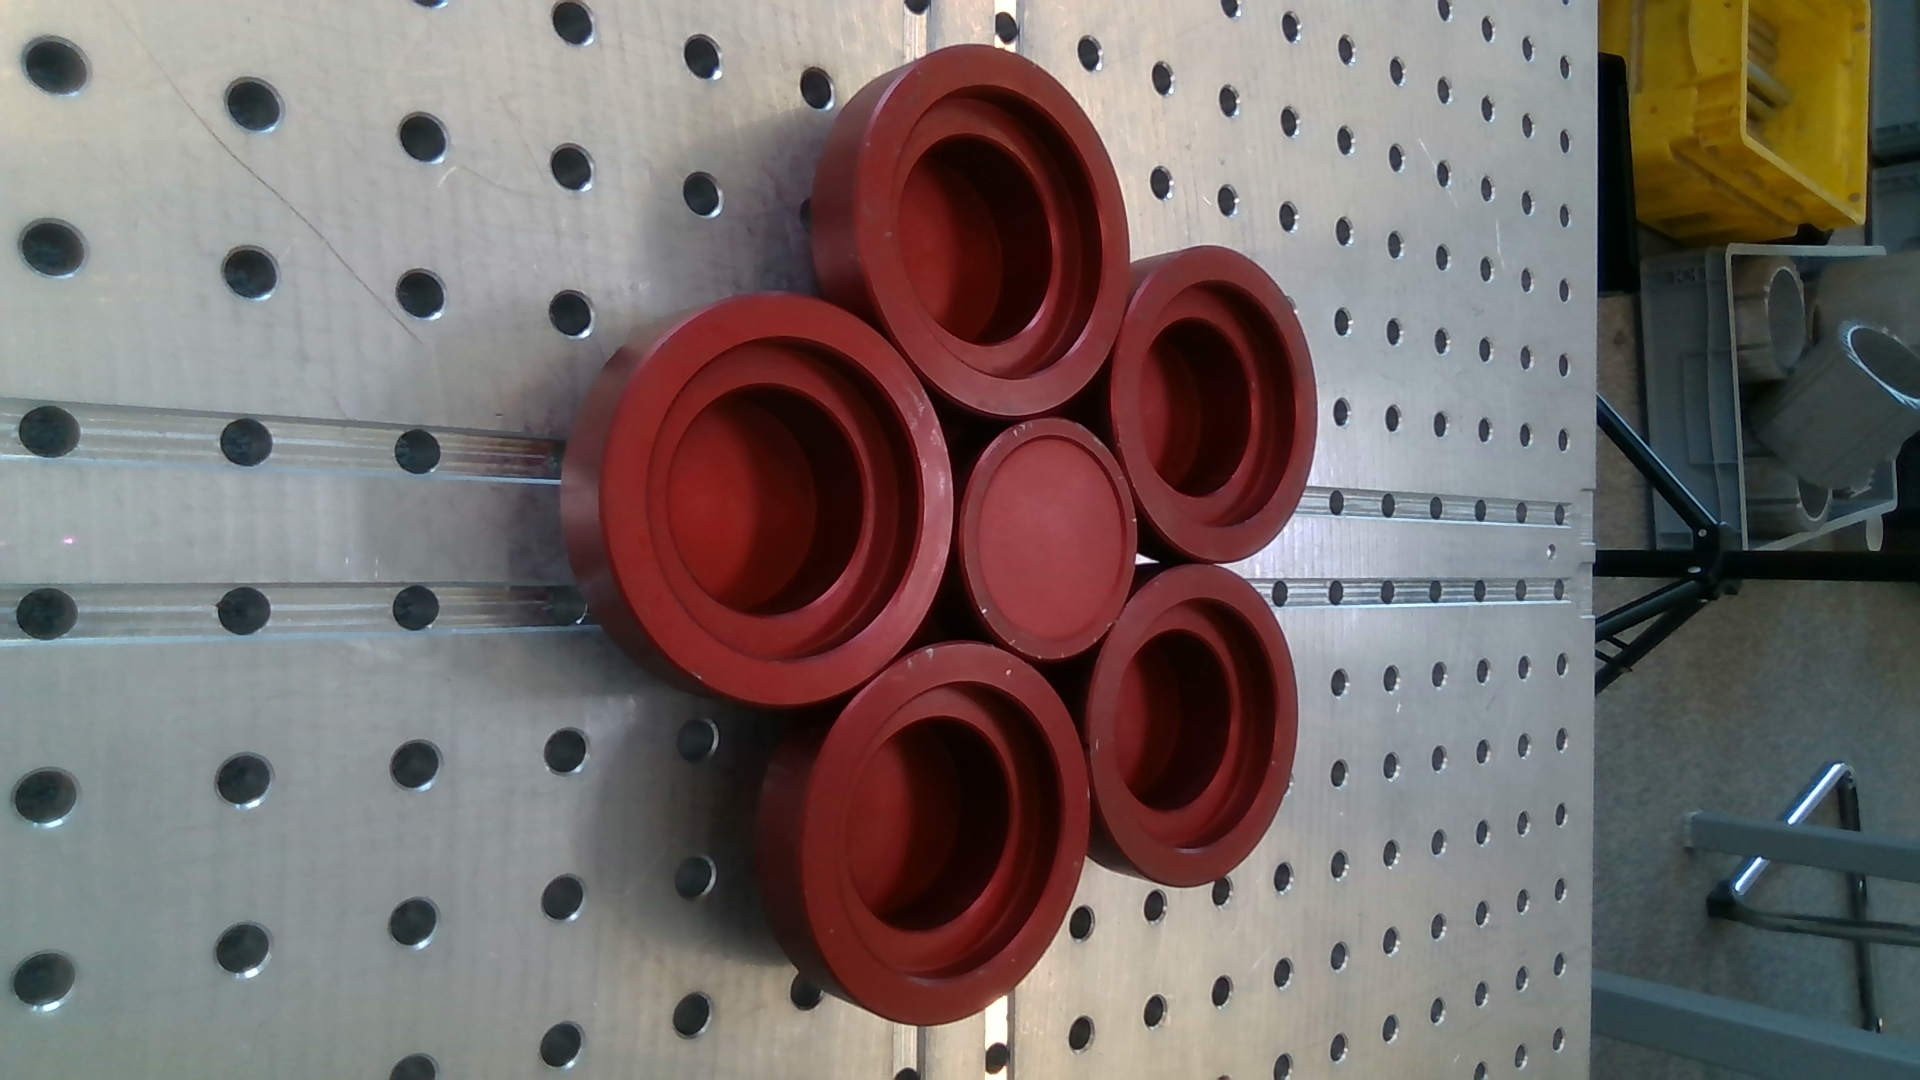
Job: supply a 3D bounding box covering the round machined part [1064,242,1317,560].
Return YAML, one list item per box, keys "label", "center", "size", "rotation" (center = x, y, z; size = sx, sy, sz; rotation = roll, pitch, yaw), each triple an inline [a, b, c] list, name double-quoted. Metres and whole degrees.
- label: "round machined part"
  center: [0.068, -0.042, 0.439]
  size: [0.098, 0.042, 0.098]
  rotation: [0, 90, -40]

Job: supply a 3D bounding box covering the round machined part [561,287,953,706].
- label: "round machined part"
  center: [-0.052, -0.010, 0.338]
  size: [0.098, 0.042, 0.098]
  rotation: [0, 90, -40]

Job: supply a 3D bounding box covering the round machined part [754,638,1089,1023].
- label: "round machined part"
  center: [-0.014, 0.075, 0.371]
  size: [0.098, 0.042, 0.098]
  rotation: [0, 90, -40]

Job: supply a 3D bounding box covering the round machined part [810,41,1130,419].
- label: "round machined part"
  center: [-0.001, -0.082, 0.381]
  size: [0.098, 0.042, 0.098]
  rotation: [0, 90, -40]

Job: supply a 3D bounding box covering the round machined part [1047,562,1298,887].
- label: "round machined part"
  center: [0.060, 0.056, 0.433]
  size: [0.098, 0.042, 0.098]
  rotation: [0, 90, -40]

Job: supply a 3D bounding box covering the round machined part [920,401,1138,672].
- label: "round machined part"
  center: [0.013, -0.001, 0.393]
  size: [0.098, 0.042, 0.098]
  rotation: [0, 90, -40]
